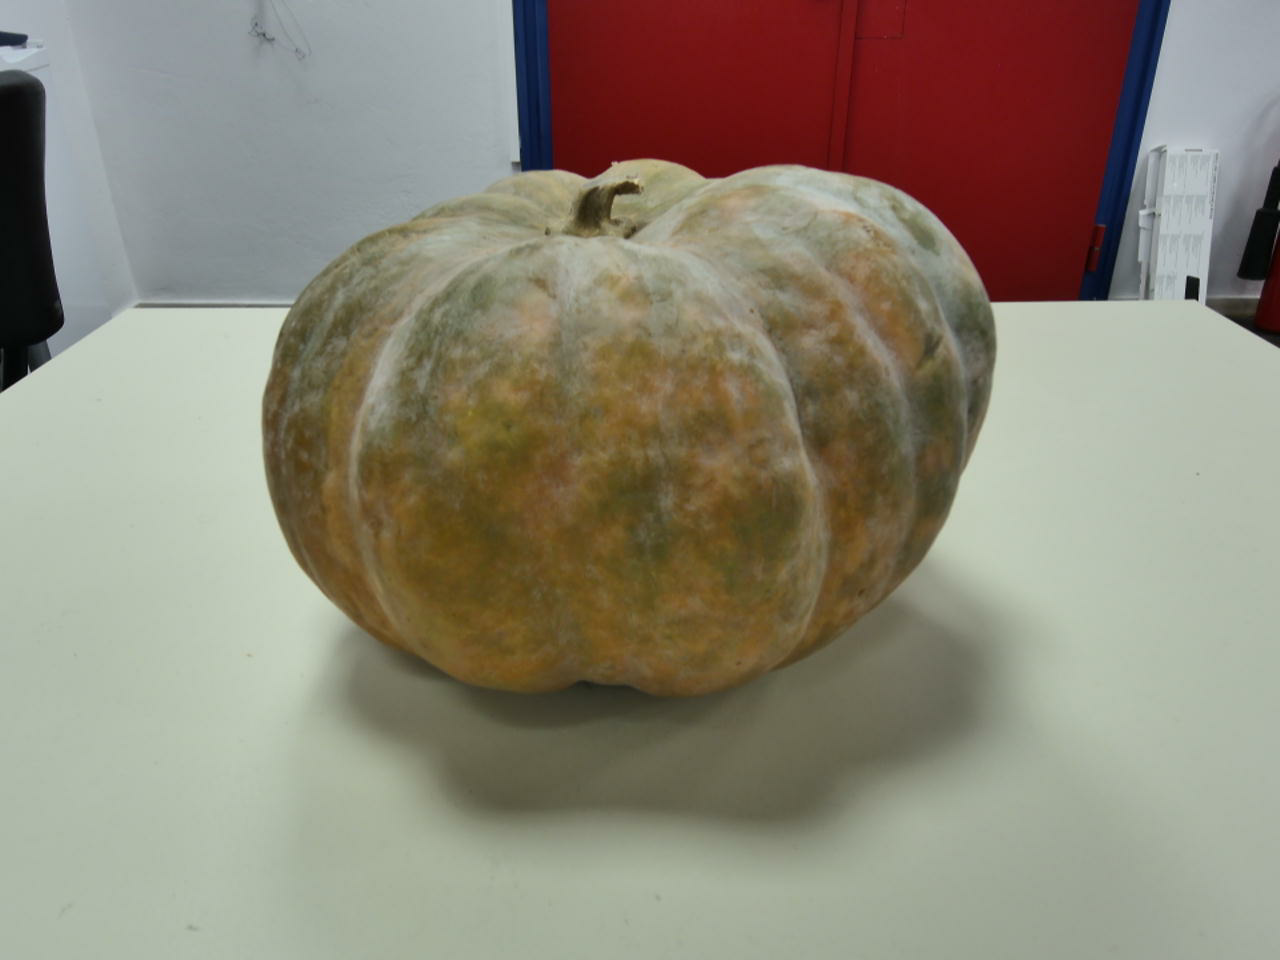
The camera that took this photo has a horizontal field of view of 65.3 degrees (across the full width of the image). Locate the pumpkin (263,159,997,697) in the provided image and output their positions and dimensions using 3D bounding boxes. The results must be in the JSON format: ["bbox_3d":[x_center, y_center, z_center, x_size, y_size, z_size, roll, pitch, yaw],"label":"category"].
[{"bbox_3d":[-0.010,-0.027,0.364,0.252,0.169,0.251,0,25,0],"label":"pumpkin"}]
